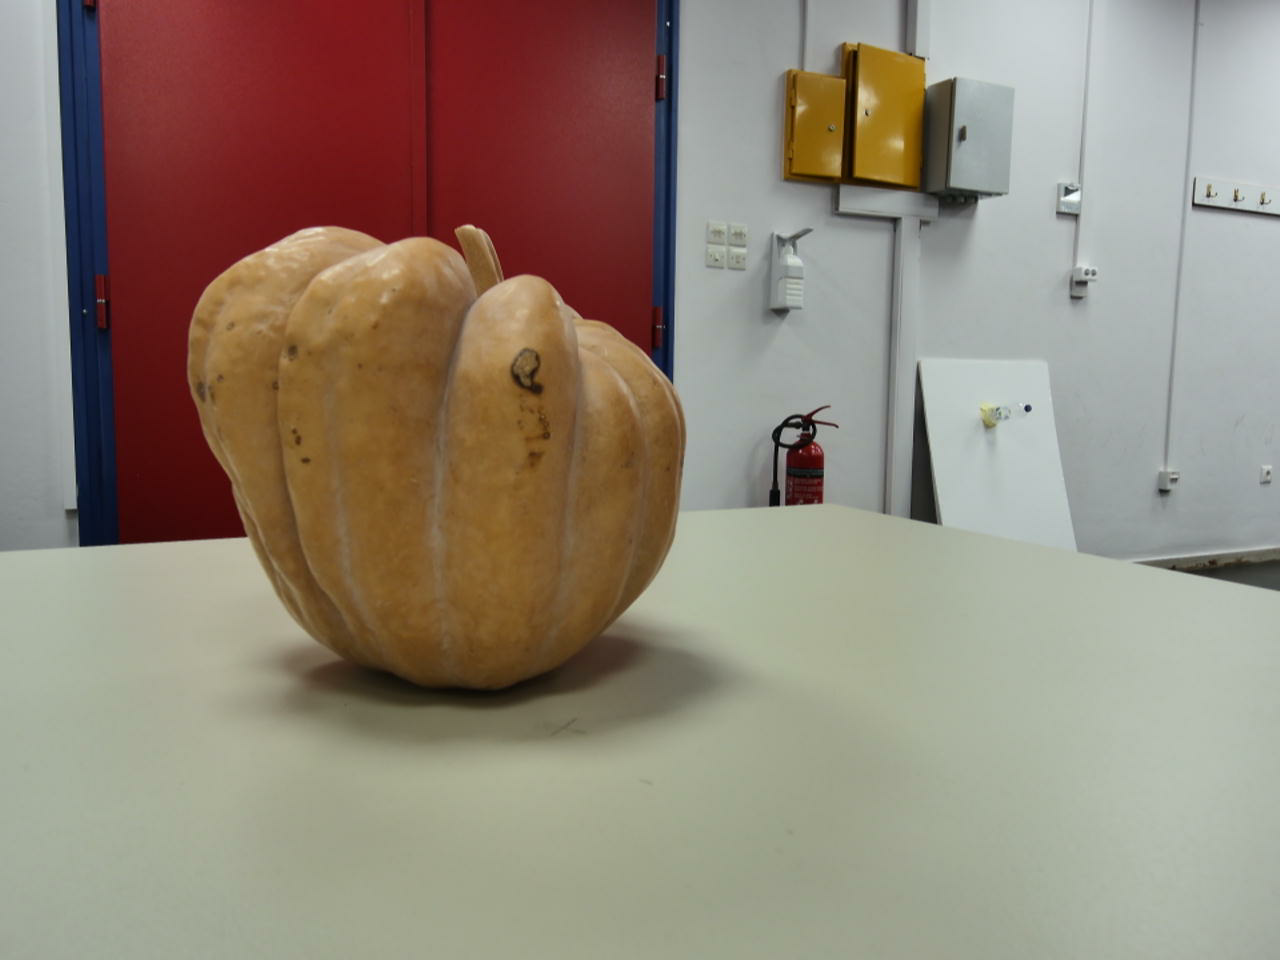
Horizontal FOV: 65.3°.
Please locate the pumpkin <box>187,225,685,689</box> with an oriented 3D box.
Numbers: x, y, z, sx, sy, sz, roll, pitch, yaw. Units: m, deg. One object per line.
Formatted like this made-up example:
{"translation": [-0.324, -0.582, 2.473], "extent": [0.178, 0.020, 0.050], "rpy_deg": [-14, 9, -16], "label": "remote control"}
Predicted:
{"translation": [-0.077, -0.010, 0.398], "extent": [0.199, 0.177, 0.198], "rpy_deg": [0, 4, 0], "label": "pumpkin"}
